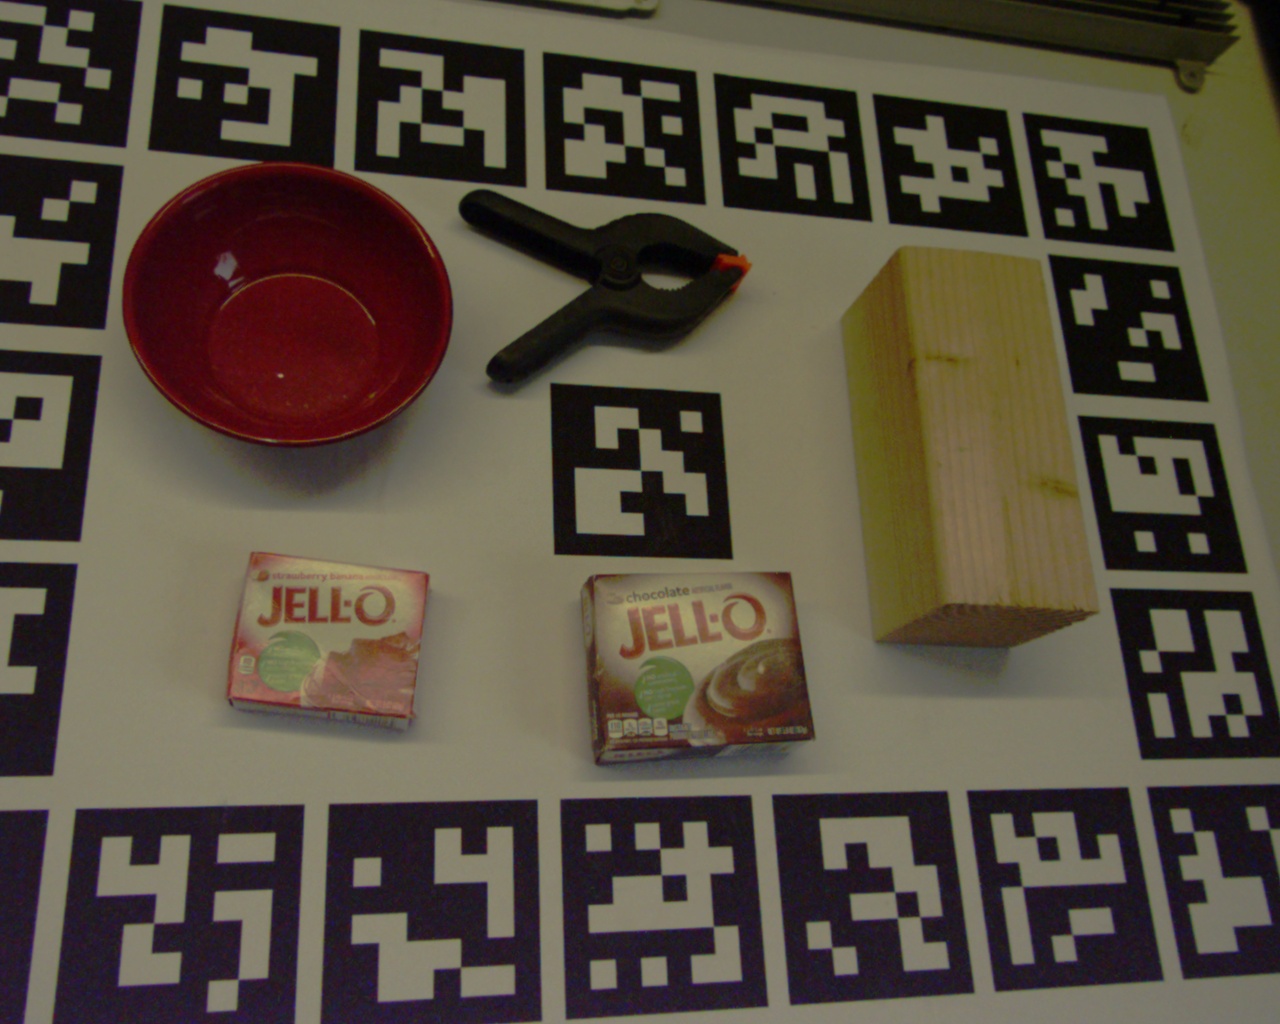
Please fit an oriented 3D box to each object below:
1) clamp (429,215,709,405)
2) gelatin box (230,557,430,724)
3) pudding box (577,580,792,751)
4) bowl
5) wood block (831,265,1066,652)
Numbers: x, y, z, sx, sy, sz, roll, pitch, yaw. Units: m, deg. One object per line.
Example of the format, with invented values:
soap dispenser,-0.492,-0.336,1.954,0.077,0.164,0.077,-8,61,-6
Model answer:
clamp,-0.037,-0.130,0.694,0.164,0.037,0.122,-8,74,-18
gelatin box,-0.159,0.067,0.591,0.089,0.030,0.073,10,72,-11
pudding box,0.022,0.084,0.627,0.113,0.039,0.090,1,76,-11
bowl,-0.189,-0.099,0.634,0.160,0.055,0.162,4,74,-14
wood block,0.178,-0.028,0.674,0.089,0.091,0.207,5,71,-14
